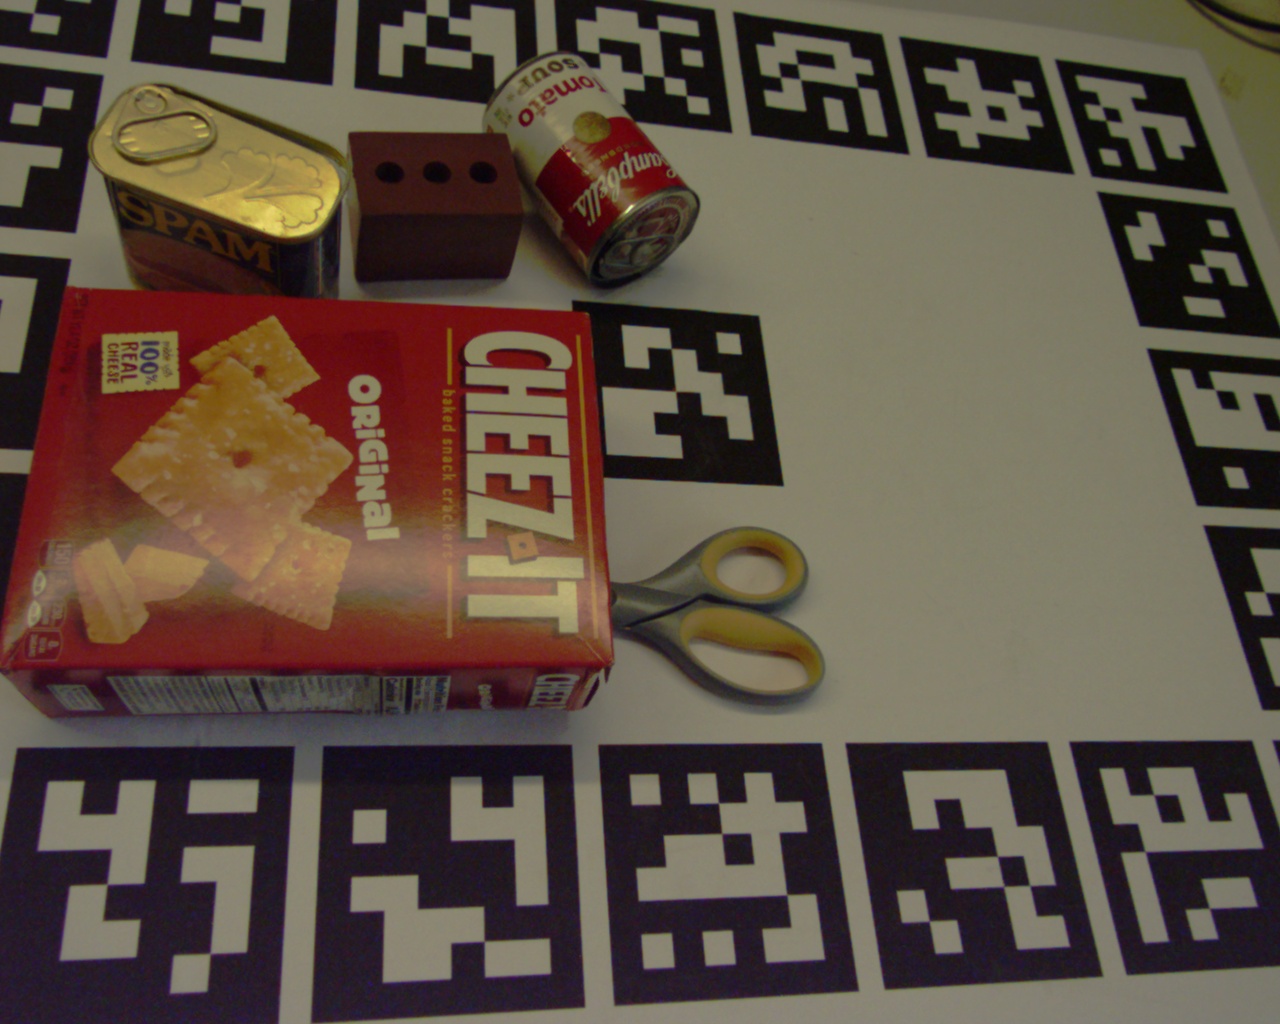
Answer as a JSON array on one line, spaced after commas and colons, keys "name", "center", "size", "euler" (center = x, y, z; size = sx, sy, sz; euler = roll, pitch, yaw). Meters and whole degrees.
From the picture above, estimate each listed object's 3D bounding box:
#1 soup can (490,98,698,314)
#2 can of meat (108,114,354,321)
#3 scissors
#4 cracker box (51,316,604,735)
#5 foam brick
[{"name": "soup can", "center": [-0.027, -0.167, 0.622], "size": [0.067, 0.068, 0.103], "euler": [-35, 73, -25]}, {"name": "can of meat", "center": [-0.191, -0.129, 0.543], "size": [0.101, 0.084, 0.058], "euler": [16, 64, -7]}, {"name": "scissors", "center": [-0.026, 0.050, 0.530], "size": [0.201, 0.016, 0.088], "euler": [-2, 67, -14]}, {"name": "cracker box", "center": [-0.132, 0.000, 0.492], "size": [0.212, 0.072, 0.165], "euler": [-3, 66, -11]}, {"name": "foam brick", "center": [-0.105, -0.146, 0.594], "size": [0.077, 0.051, 0.053], "euler": [-7, 69, -17]}]
